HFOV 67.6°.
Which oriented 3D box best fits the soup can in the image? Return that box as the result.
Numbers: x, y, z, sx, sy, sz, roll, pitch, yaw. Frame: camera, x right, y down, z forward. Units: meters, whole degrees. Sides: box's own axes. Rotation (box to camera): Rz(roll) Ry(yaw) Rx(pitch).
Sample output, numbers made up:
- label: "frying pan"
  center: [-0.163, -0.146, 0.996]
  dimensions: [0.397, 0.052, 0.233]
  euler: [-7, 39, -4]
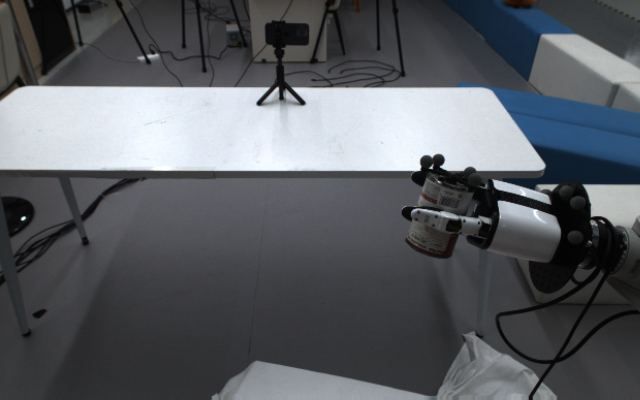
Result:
- label: "soup can"
  center: [0.166, 0.019, 0.666]
  dimensions: [0.067, 0.101, 0.067]
  euler: [13, 18, -4]
